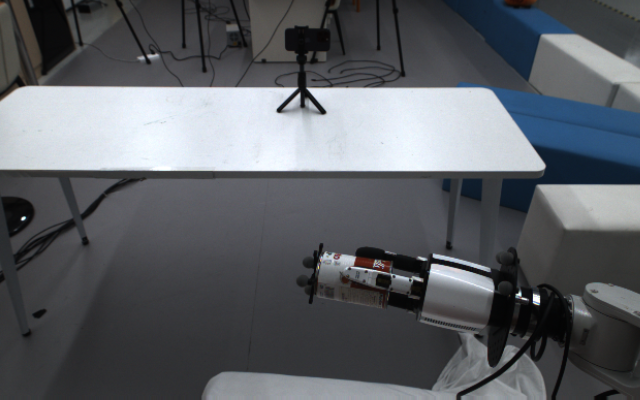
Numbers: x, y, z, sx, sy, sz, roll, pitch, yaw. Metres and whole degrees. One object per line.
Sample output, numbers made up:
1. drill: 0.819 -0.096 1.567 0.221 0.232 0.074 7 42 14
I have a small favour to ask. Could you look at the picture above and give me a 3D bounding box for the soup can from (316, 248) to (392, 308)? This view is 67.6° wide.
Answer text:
1. soup can: 0.051 0.112 0.683 0.101 0.067 0.067 7 35 10
